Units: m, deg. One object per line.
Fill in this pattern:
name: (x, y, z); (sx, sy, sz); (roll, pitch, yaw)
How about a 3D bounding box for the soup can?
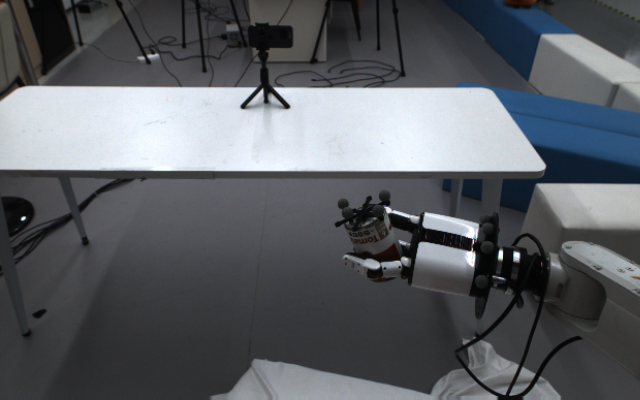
soup can: (0.087, 0.065, 0.736); (0.067, 0.101, 0.067); (-21, 24, 10)
